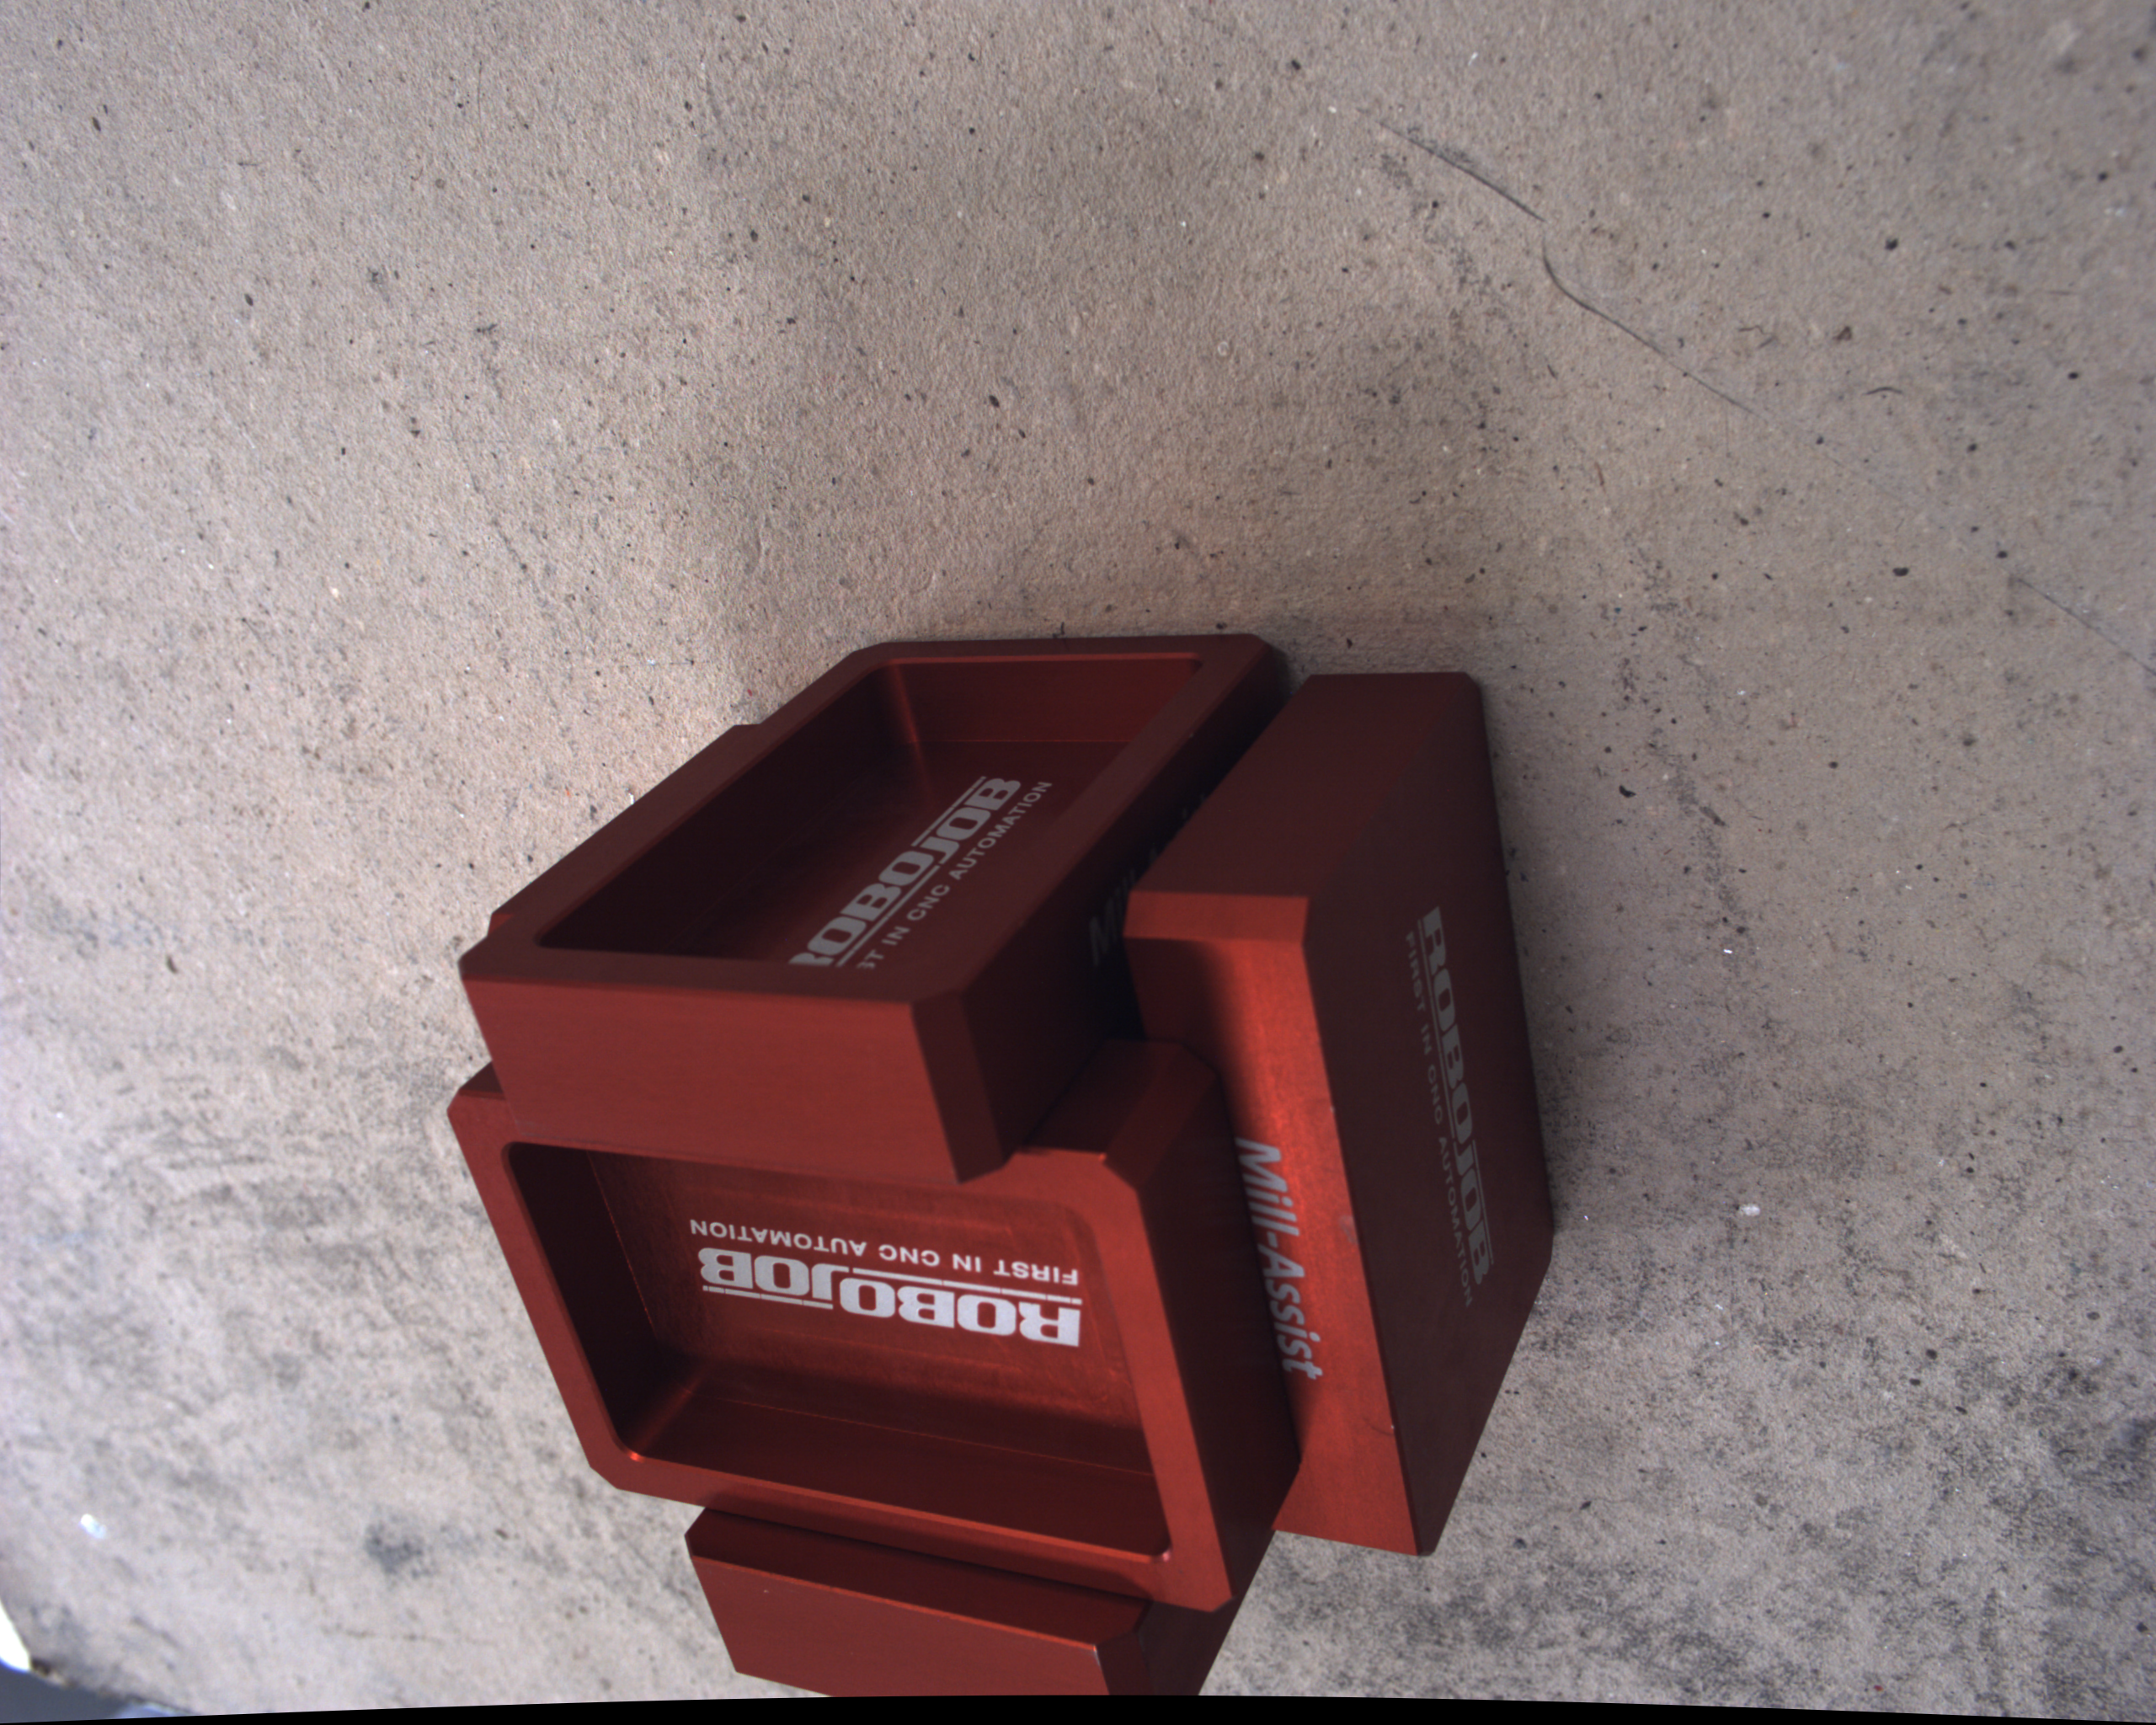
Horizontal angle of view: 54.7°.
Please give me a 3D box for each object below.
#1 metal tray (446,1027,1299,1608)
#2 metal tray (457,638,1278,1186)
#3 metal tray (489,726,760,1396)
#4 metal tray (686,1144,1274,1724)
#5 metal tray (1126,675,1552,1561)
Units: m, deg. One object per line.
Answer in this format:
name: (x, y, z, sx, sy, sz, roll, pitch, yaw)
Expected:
metal tray: (-0.035, 0.072, 0.351, 0.130, 0.030, 0.089, 2, 120, 27)
metal tray: (-0.028, 0.001, 0.355, 0.090, 0.131, 0.030, 2, 119, 27)
metal tray: (-0.062, 0.047, 0.427, 0.030, 0.090, 0.129, -1, 118, 28)
metal tray: (-0.002, 0.105, 0.406, 0.090, 0.131, 0.030, 2, 120, 27)
metal tray: (0.051, 0.043, 0.365, 0.030, 0.090, 0.129, 2, 118, 28)
